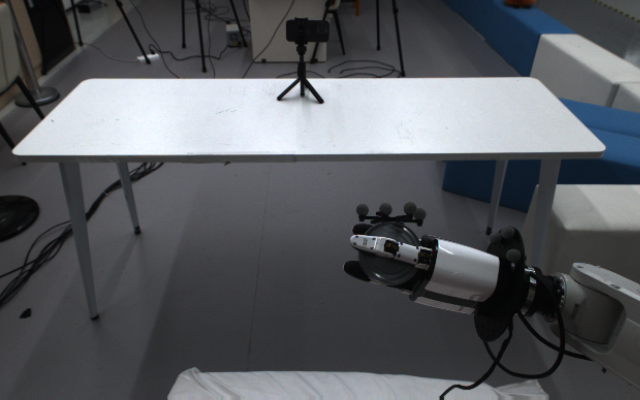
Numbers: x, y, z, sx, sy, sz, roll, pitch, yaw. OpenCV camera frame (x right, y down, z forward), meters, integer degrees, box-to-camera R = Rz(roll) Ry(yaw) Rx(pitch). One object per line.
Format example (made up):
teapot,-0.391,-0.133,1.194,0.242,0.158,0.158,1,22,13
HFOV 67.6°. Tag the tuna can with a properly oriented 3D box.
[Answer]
tuna can,0.096,0.072,0.659,0.085,0.034,0.085,0,75,1
